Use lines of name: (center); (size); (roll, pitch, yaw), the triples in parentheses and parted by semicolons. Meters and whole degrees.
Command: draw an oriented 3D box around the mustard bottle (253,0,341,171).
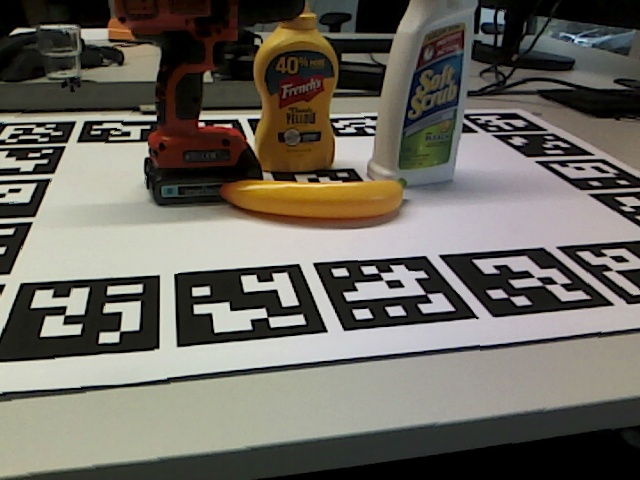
mustard bottle: (-0.025, -0.176, 0.704); (0.096, 0.191, 0.059); (-2, 28, -13)

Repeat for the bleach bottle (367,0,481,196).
bleach bottle: (0.115, -0.174, 0.672); (0.102, 0.250, 0.068); (-7, 31, -20)

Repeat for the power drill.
power drill: (-0.110, -0.159, 0.622); (0.184, 0.187, 0.057); (-2, 22, -17)

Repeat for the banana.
banana: (0.006, -0.044, 0.617); (0.197, 0.039, 0.074); (-3, 33, -9)
